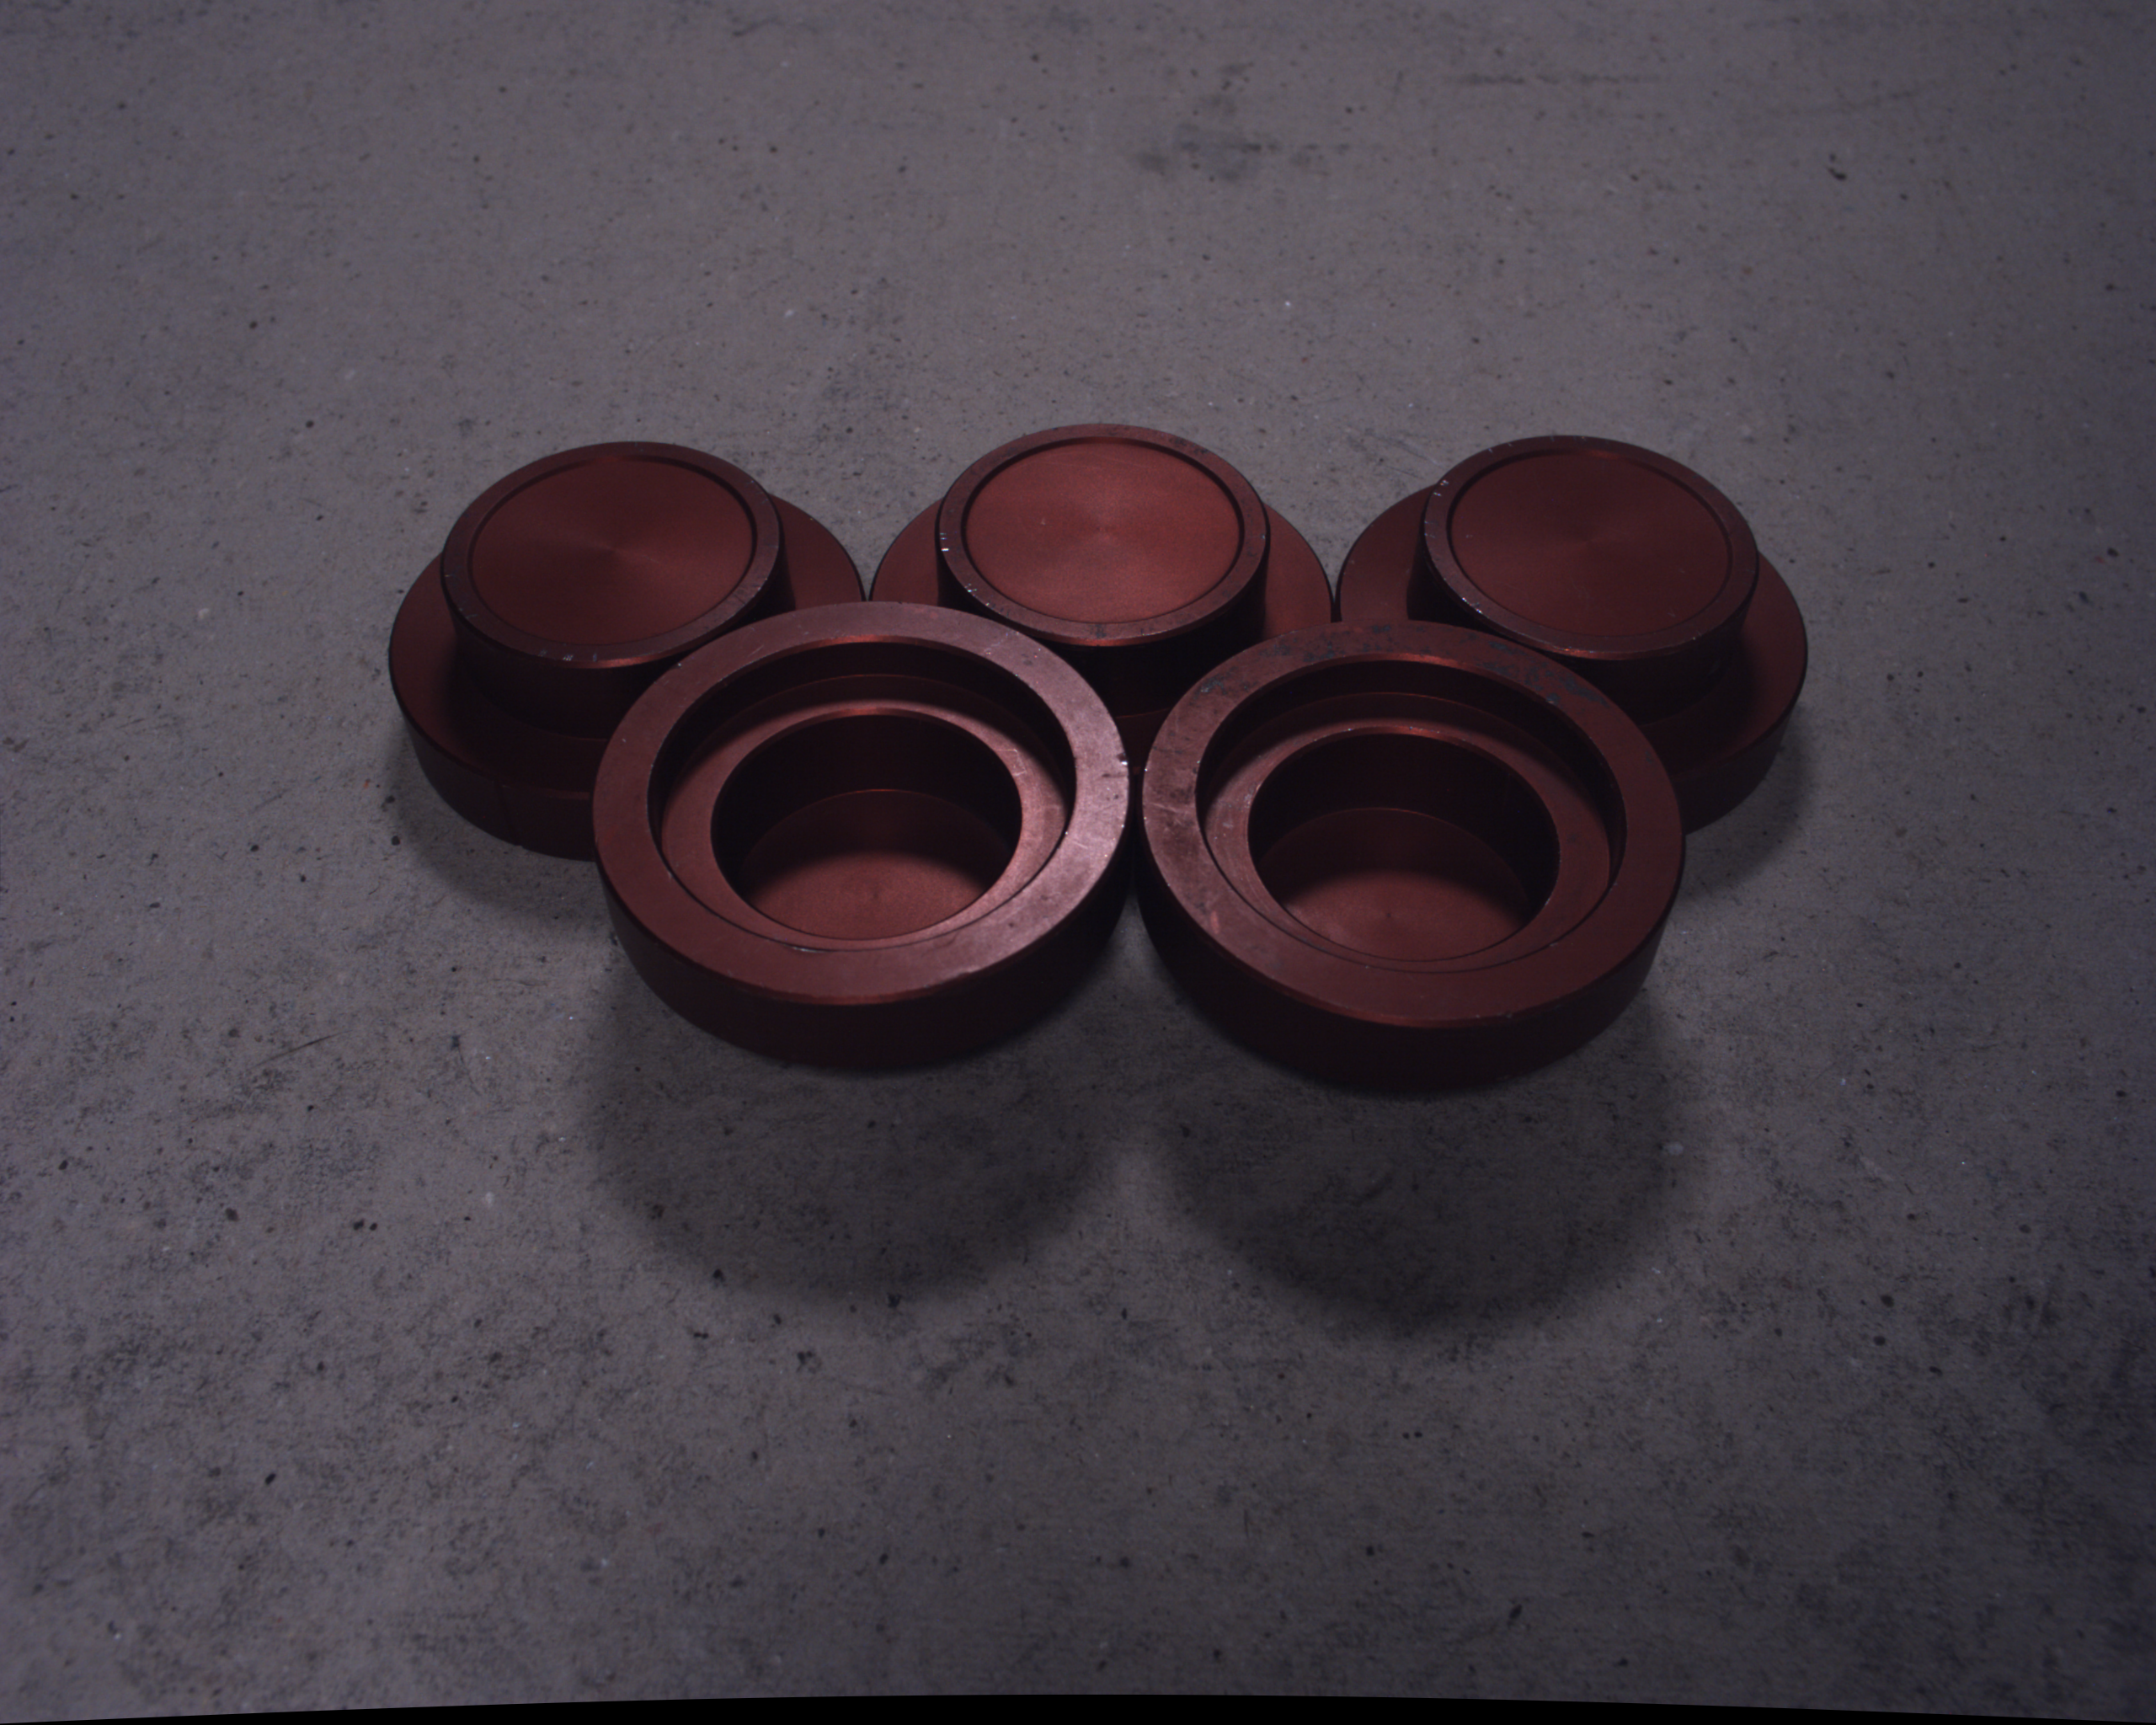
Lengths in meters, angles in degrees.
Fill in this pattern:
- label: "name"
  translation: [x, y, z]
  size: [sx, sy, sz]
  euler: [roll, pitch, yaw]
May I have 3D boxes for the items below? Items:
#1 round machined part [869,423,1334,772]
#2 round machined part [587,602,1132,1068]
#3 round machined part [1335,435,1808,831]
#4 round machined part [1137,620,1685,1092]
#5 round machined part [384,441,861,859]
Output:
- label: "round machined part"
  translation: [0.005, -0.055, 0.440]
  size: [0.099, 0.042, 0.098]
  euler: [0, 50, 0]
- label: "round machined part"
  translation: [-0.039, -0.001, 0.394]
  size: [0.099, 0.042, 0.098]
  euler: [0, 50, 0]
- label: "round machined part"
  translation: [0.104, -0.052, 0.439]
  size: [0.099, 0.042, 0.098]
  euler: [0, 50, 0]
- label: "round machined part"
  translation: [0.060, 0.003, 0.392]
  size: [0.099, 0.042, 0.098]
  euler: [0, 50, 0]
- label: "round machined part"
  translation: [-0.094, -0.051, 0.435]
  size: [0.099, 0.042, 0.098]
  euler: [0, 50, 0]
